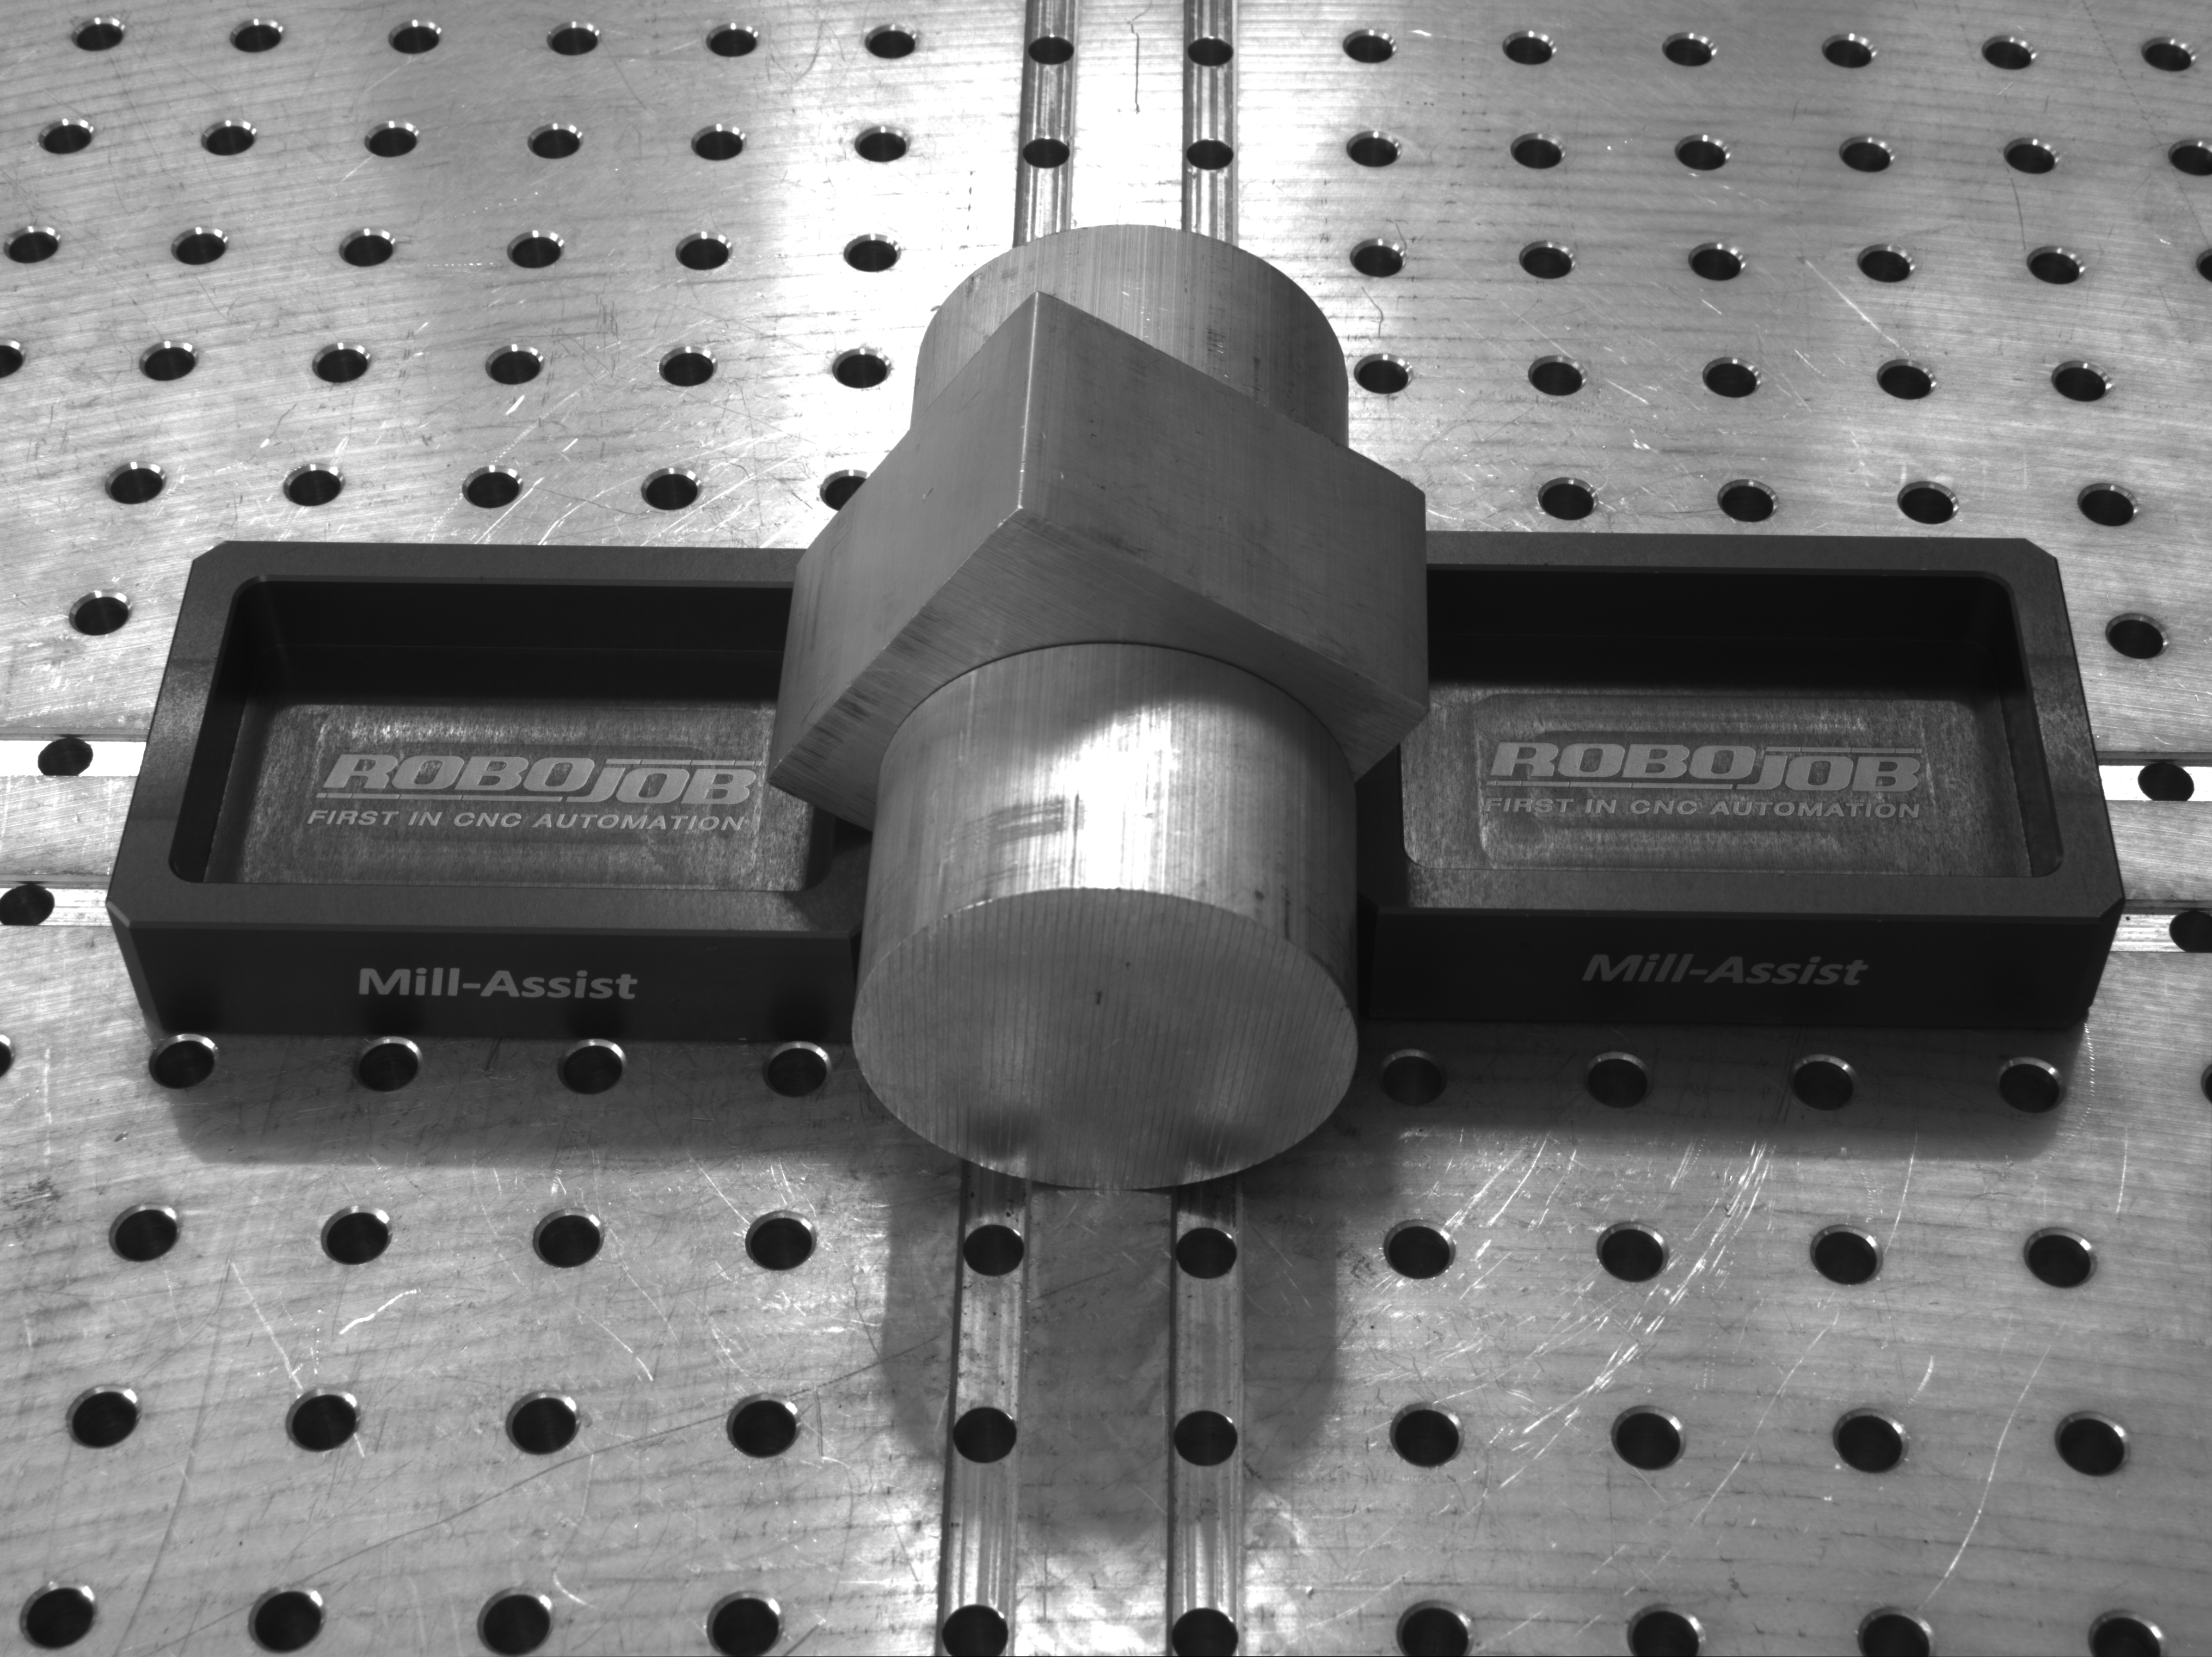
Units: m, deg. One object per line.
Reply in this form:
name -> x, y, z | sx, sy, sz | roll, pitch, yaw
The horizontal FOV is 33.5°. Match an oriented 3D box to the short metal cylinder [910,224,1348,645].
short metal cylinder -> 0.004, -0.062, 0.661 | 0.080, 0.080, 0.050 | 1, 50, 1

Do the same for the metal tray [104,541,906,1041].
metal tray -> -0.101, -0.008, 0.649 | 0.130, 0.030, 0.090 | 1, 50, 1

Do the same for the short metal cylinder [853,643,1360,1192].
short metal cylinder -> 0.001, 0.016, 0.596 | 0.080, 0.080, 0.050 | 1, 50, 1

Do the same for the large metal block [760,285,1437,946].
large metal block -> -0.001, -0.032, 0.618 | 0.080, 0.080, 0.050 | 25, 45, -24

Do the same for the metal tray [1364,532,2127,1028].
metal tray -> 0.106, -0.010, 0.650 | 0.130, 0.030, 0.090 | 1, 50, 1
